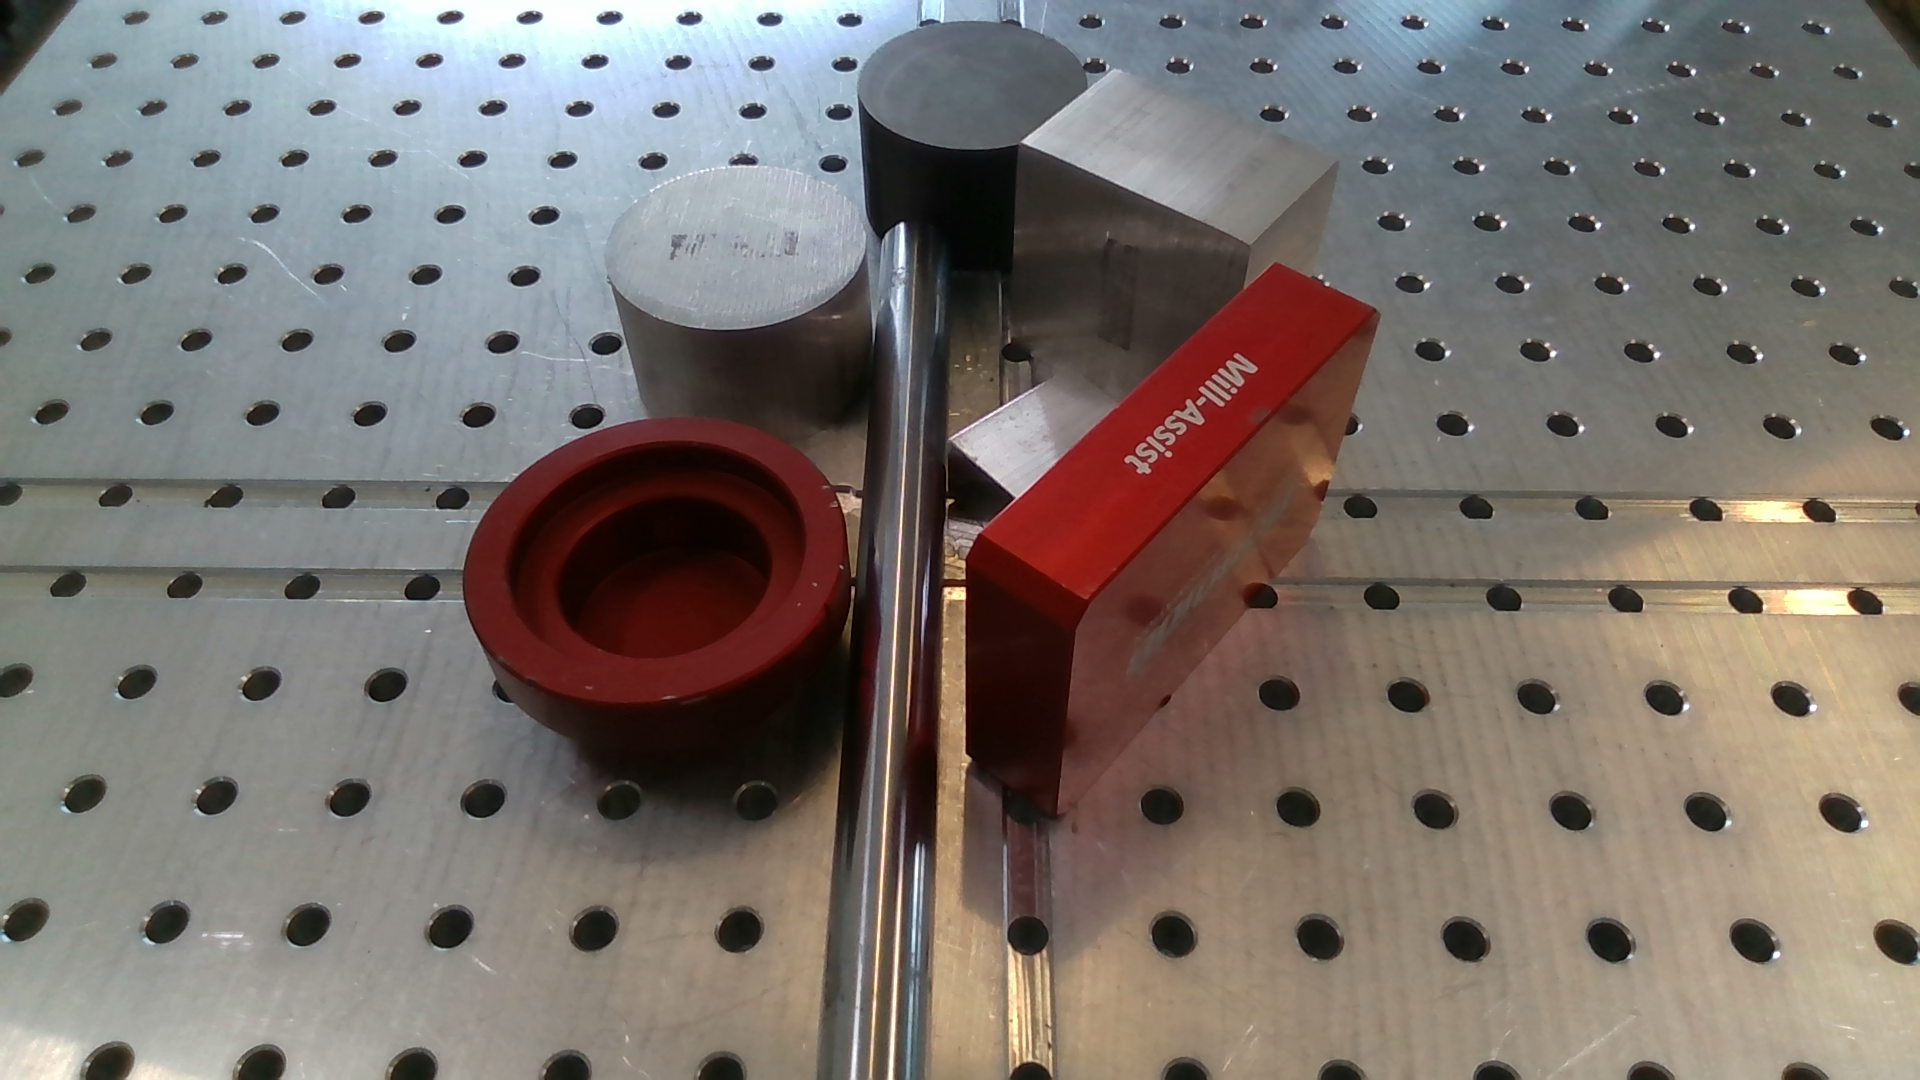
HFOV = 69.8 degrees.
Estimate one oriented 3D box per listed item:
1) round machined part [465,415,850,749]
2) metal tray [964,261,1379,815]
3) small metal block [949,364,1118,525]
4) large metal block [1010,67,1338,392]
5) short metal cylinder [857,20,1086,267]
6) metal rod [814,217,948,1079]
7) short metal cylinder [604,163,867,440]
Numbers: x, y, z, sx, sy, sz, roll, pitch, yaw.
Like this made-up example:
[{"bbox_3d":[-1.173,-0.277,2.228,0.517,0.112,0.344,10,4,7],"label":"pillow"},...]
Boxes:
[{"bbox_3d":[-0.079,0.015,0.374,0.098,0.042,0.098,0,50,0],"label":"round machined part"},{"bbox_3d":[0.054,-0.001,0.355,0.030,0.090,0.130,33,57,24],"label":"metal tray"},{"bbox_3d":[0.032,-0.020,0.414,0.050,0.025,0.050,-32,57,-24],"label":"small metal block"},{"bbox_3d":[0.064,-0.089,0.436,0.080,0.080,0.050,31,57,23],"label":"large metal block"},{"bbox_3d":[0.004,-0.145,0.500,0.080,0.050,0.080,0,50,0],"label":"short metal cylinder"},{"bbox_3d":[-0.018,0.012,0.387,0.025,0.025,0.299,0,50,0],"label":"metal rod"},{"bbox_3d":[-0.069,-0.076,0.444,0.080,0.050,0.080,0,50,0],"label":"short metal cylinder"}]
